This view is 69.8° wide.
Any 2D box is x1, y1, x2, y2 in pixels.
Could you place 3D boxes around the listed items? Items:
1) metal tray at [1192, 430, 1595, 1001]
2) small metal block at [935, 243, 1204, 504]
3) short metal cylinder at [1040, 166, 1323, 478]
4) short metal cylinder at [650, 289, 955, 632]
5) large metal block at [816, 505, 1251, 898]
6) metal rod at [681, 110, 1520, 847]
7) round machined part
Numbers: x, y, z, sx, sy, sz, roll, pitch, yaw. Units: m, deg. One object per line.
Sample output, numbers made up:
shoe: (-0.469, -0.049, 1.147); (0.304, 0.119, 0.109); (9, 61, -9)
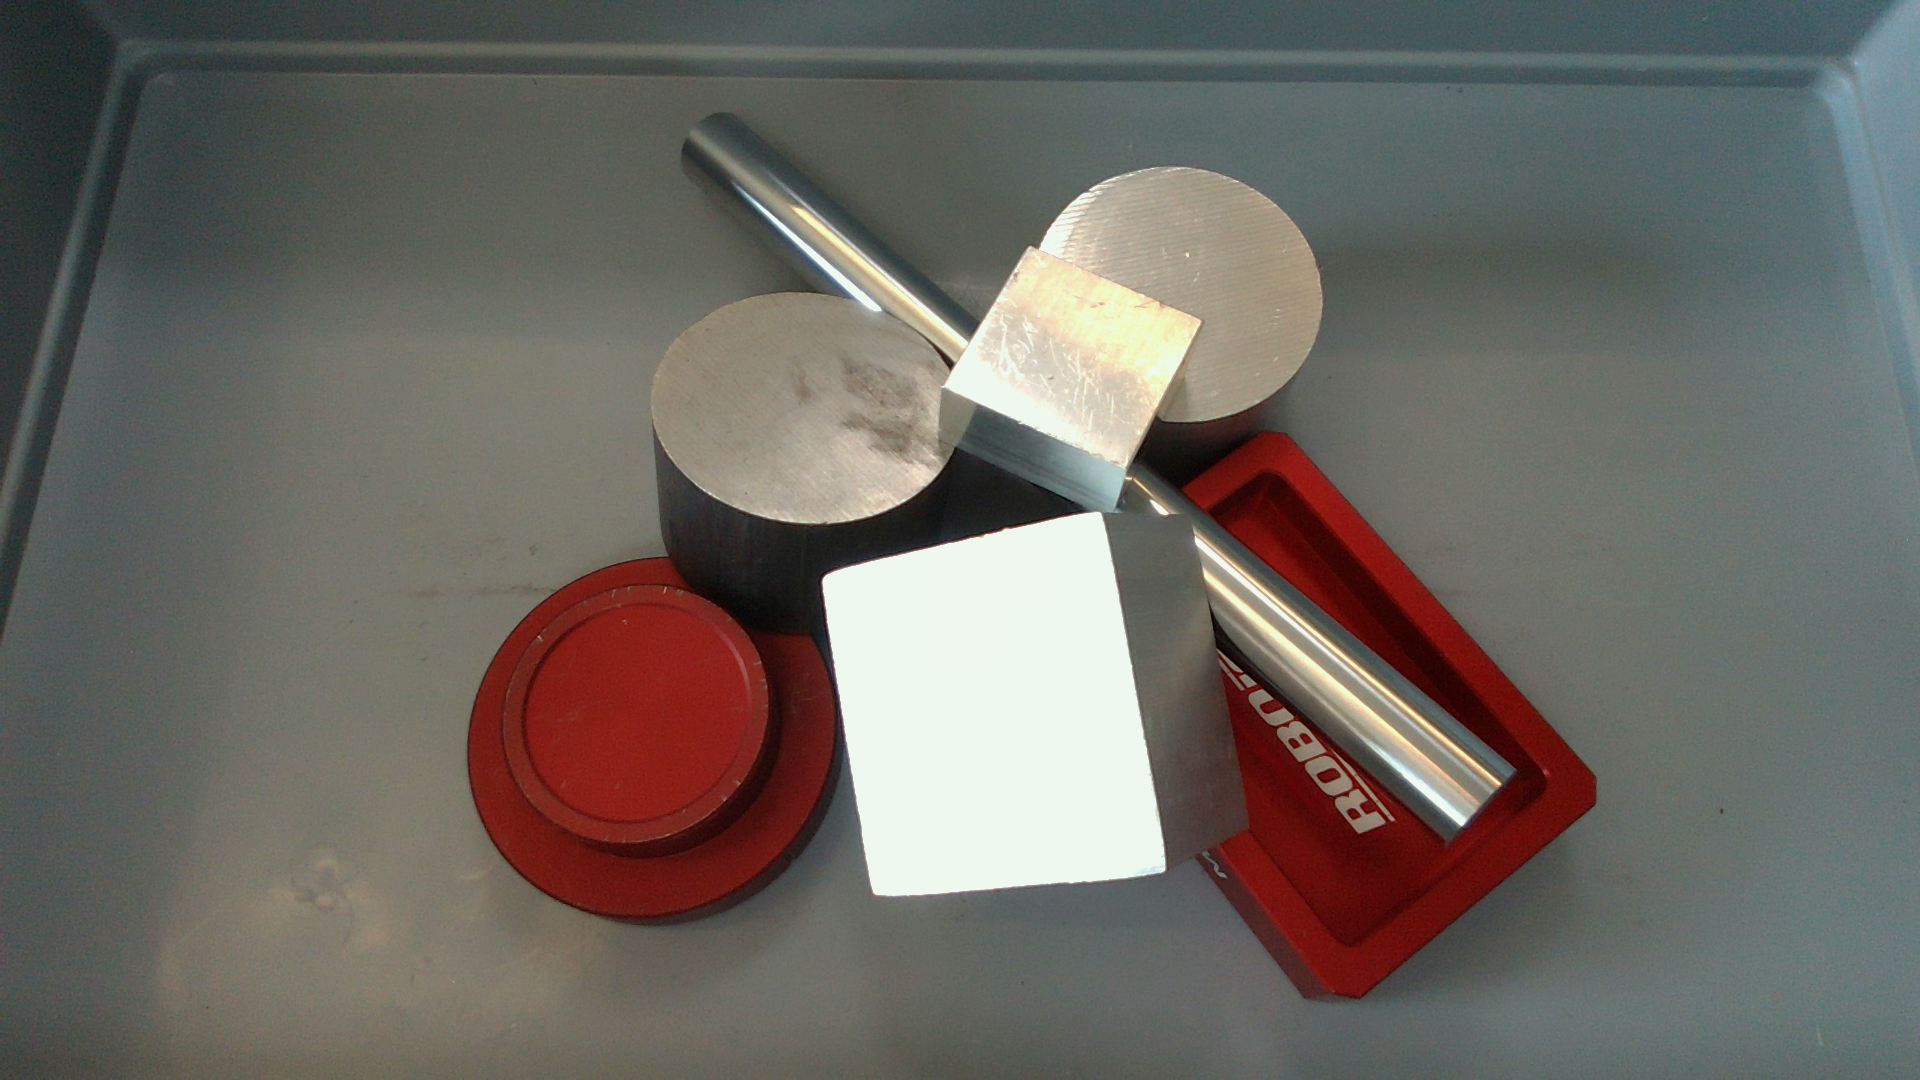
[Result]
metal tray: (0.092, 0.045, 0.374); (0.090, 0.030, 0.130); (-35, 74, -12)
small metal block: (0.028, -0.041, 0.352); (0.050, 0.025, 0.050); (25, 64, 9)
short metal cylinder: (0.060, -0.061, 0.403); (0.080, 0.050, 0.080); (0, 70, 0)
short metal cylinder: (-0.043, -0.022, 0.376); (0.080, 0.050, 0.080); (5, 53, -6)
large metal block: (0.018, 0.040, 0.338); (0.080, 0.050, 0.080); (-13, 83, 31)
metal rod: (0.021, -0.032, 0.379); (0.025, 0.025, 0.299); (-41, 66, -13)
round machined part: (-0.082, 0.050, 0.365); (0.098, 0.042, 0.098); (0, 70, 0)
